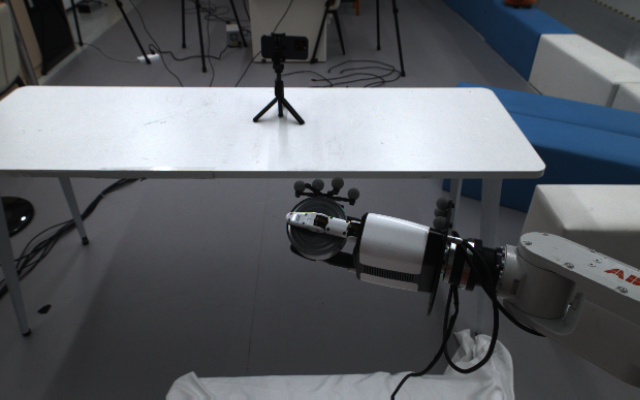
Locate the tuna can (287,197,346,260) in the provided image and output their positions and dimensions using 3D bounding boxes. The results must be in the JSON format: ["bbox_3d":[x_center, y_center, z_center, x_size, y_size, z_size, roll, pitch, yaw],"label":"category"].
[{"bbox_3d":[-0.002,0.039,0.680,0.085,0.034,0.085,-3,69,7],"label":"tuna can"}]
